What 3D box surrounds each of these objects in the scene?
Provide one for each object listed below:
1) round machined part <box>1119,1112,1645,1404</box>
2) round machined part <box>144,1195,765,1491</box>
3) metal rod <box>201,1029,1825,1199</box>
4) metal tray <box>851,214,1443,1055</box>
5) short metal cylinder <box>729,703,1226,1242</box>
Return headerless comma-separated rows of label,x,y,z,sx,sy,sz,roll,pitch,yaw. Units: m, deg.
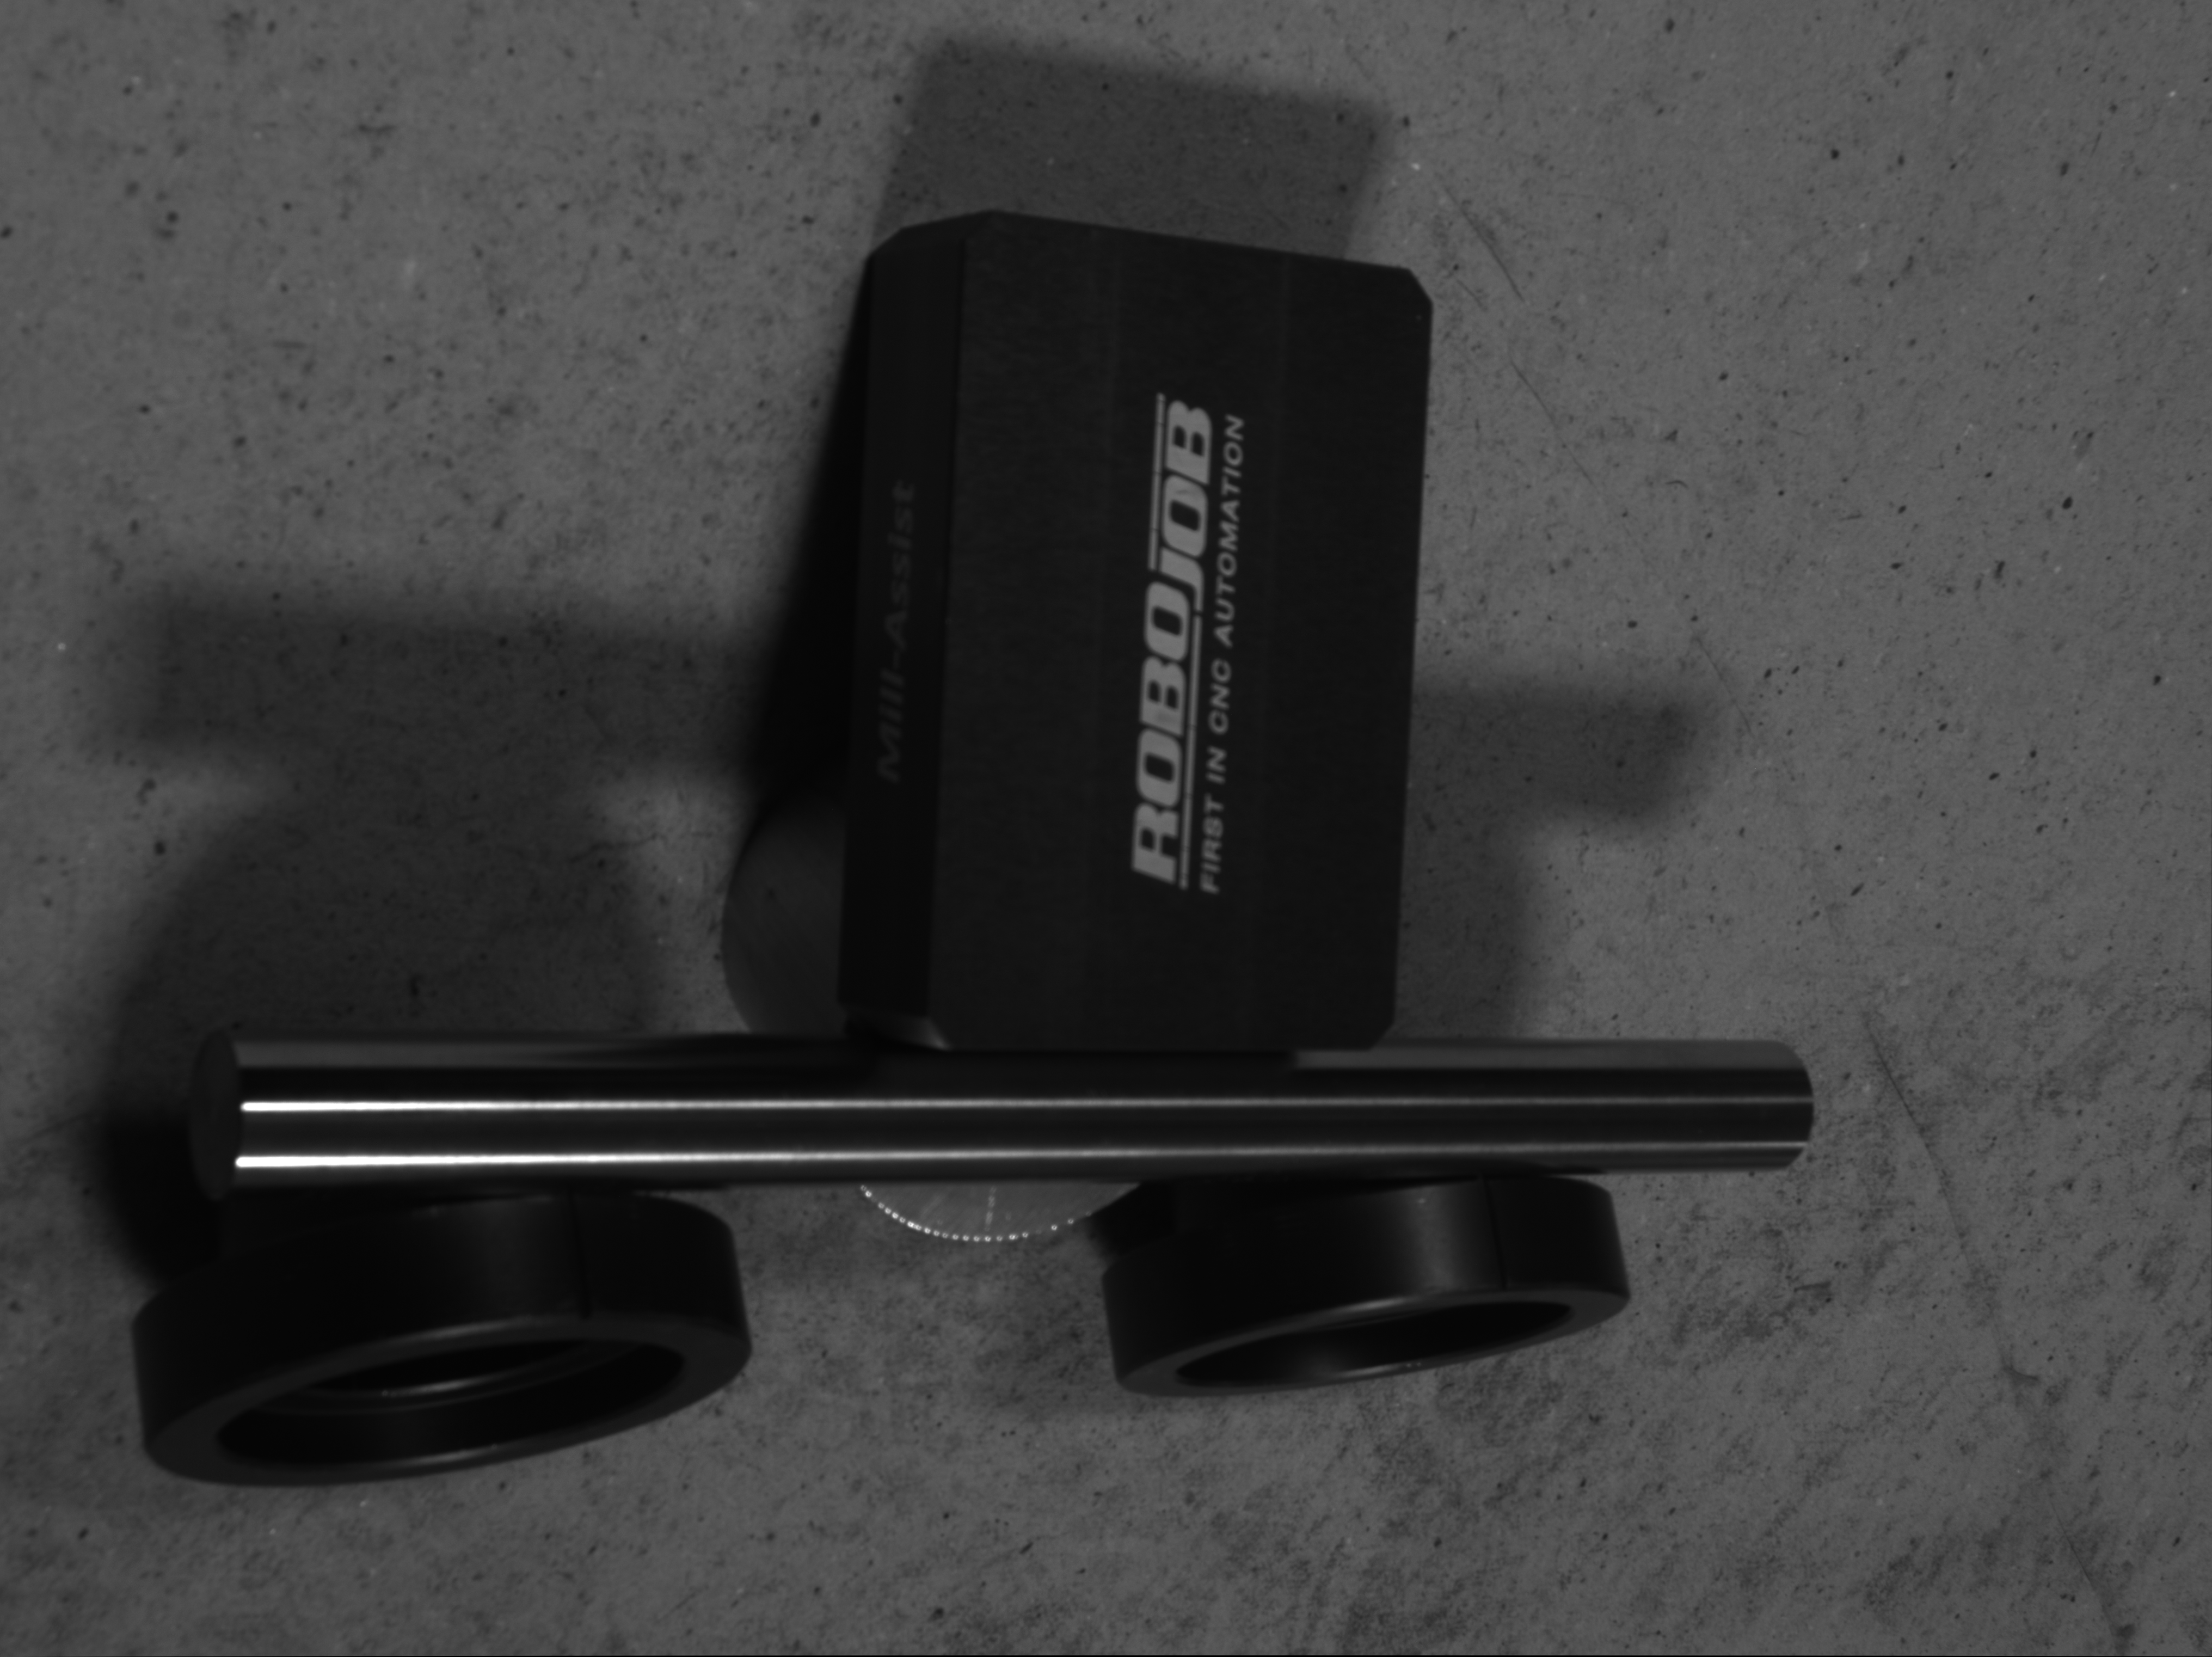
round machined part,0.050,0.079,0.695,0.098,0.042,0.098,-9,163,-2
round machined part,-0.108,0.075,0.602,0.098,0.042,0.098,-11,160,-4
metal rod,-0.001,0.047,0.615,0.301,0.025,0.025,2,117,-31
metal tray,0.008,-0.029,0.599,0.090,0.030,0.130,2,91,-31
short metal cylinder,-0.019,0.025,0.639,0.080,0.050,0.080,-15,125,-22
